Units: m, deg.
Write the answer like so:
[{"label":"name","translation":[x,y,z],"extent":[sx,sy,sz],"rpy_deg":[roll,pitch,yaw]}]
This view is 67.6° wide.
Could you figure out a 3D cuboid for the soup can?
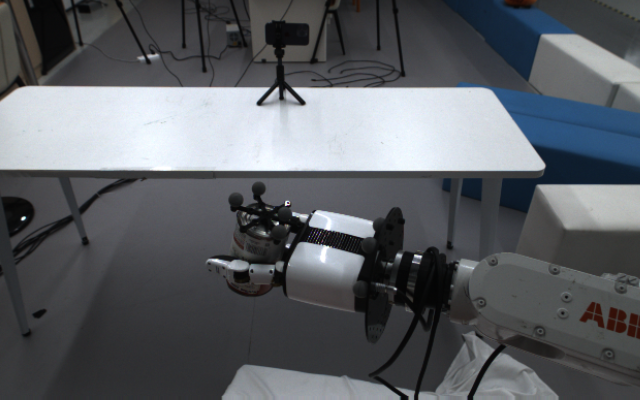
[{"label":"soup can","translation":[-0.078,0.063,0.607],"extent":[0.067,0.101,0.067],"rpy_deg":[13,35,-9]}]
